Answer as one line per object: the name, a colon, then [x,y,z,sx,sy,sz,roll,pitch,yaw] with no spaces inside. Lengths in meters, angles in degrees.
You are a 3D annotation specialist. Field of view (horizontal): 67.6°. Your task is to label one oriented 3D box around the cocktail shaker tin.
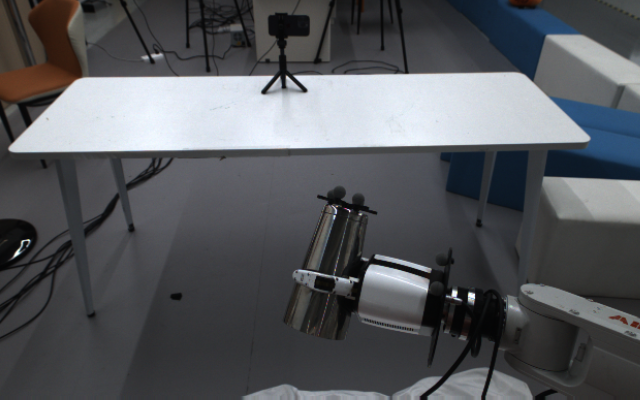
cocktail shaker tin: [0.015,0.097,0.676,0.093,0.170,0.093,15,-4,1]
